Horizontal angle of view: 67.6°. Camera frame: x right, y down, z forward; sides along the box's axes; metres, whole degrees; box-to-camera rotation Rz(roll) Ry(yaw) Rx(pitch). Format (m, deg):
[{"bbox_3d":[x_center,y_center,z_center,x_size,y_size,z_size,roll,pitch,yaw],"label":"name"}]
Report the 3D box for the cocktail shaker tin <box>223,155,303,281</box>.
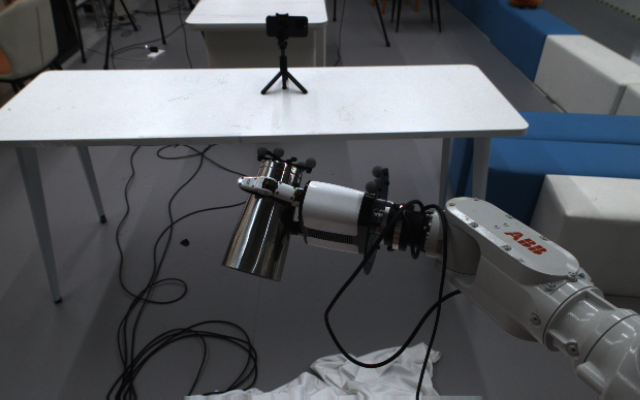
[{"bbox_3d":[-0.079,0.027,0.736,0.093,0.093,0.170,13,77,15],"label":"cocktail shaker tin"}]
